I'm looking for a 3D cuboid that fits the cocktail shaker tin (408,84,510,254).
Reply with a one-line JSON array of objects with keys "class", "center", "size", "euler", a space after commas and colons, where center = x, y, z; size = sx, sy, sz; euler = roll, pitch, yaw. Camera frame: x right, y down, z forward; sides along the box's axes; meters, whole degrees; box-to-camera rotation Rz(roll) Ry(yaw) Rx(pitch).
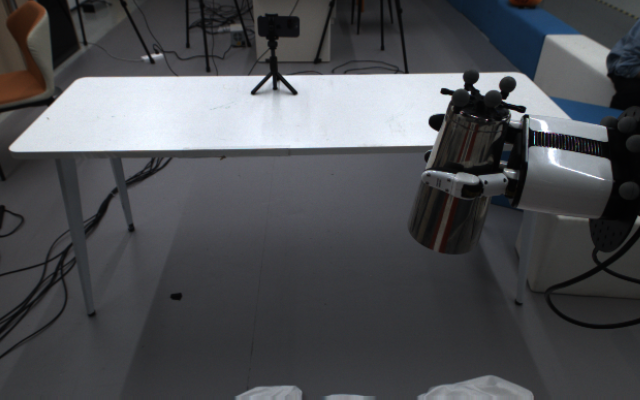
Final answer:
[{"class": "cocktail shaker tin", "center": [0.167, -0.032, 0.569], "size": [0.093, 0.170, 0.093], "euler": [4, 36, -3]}]
